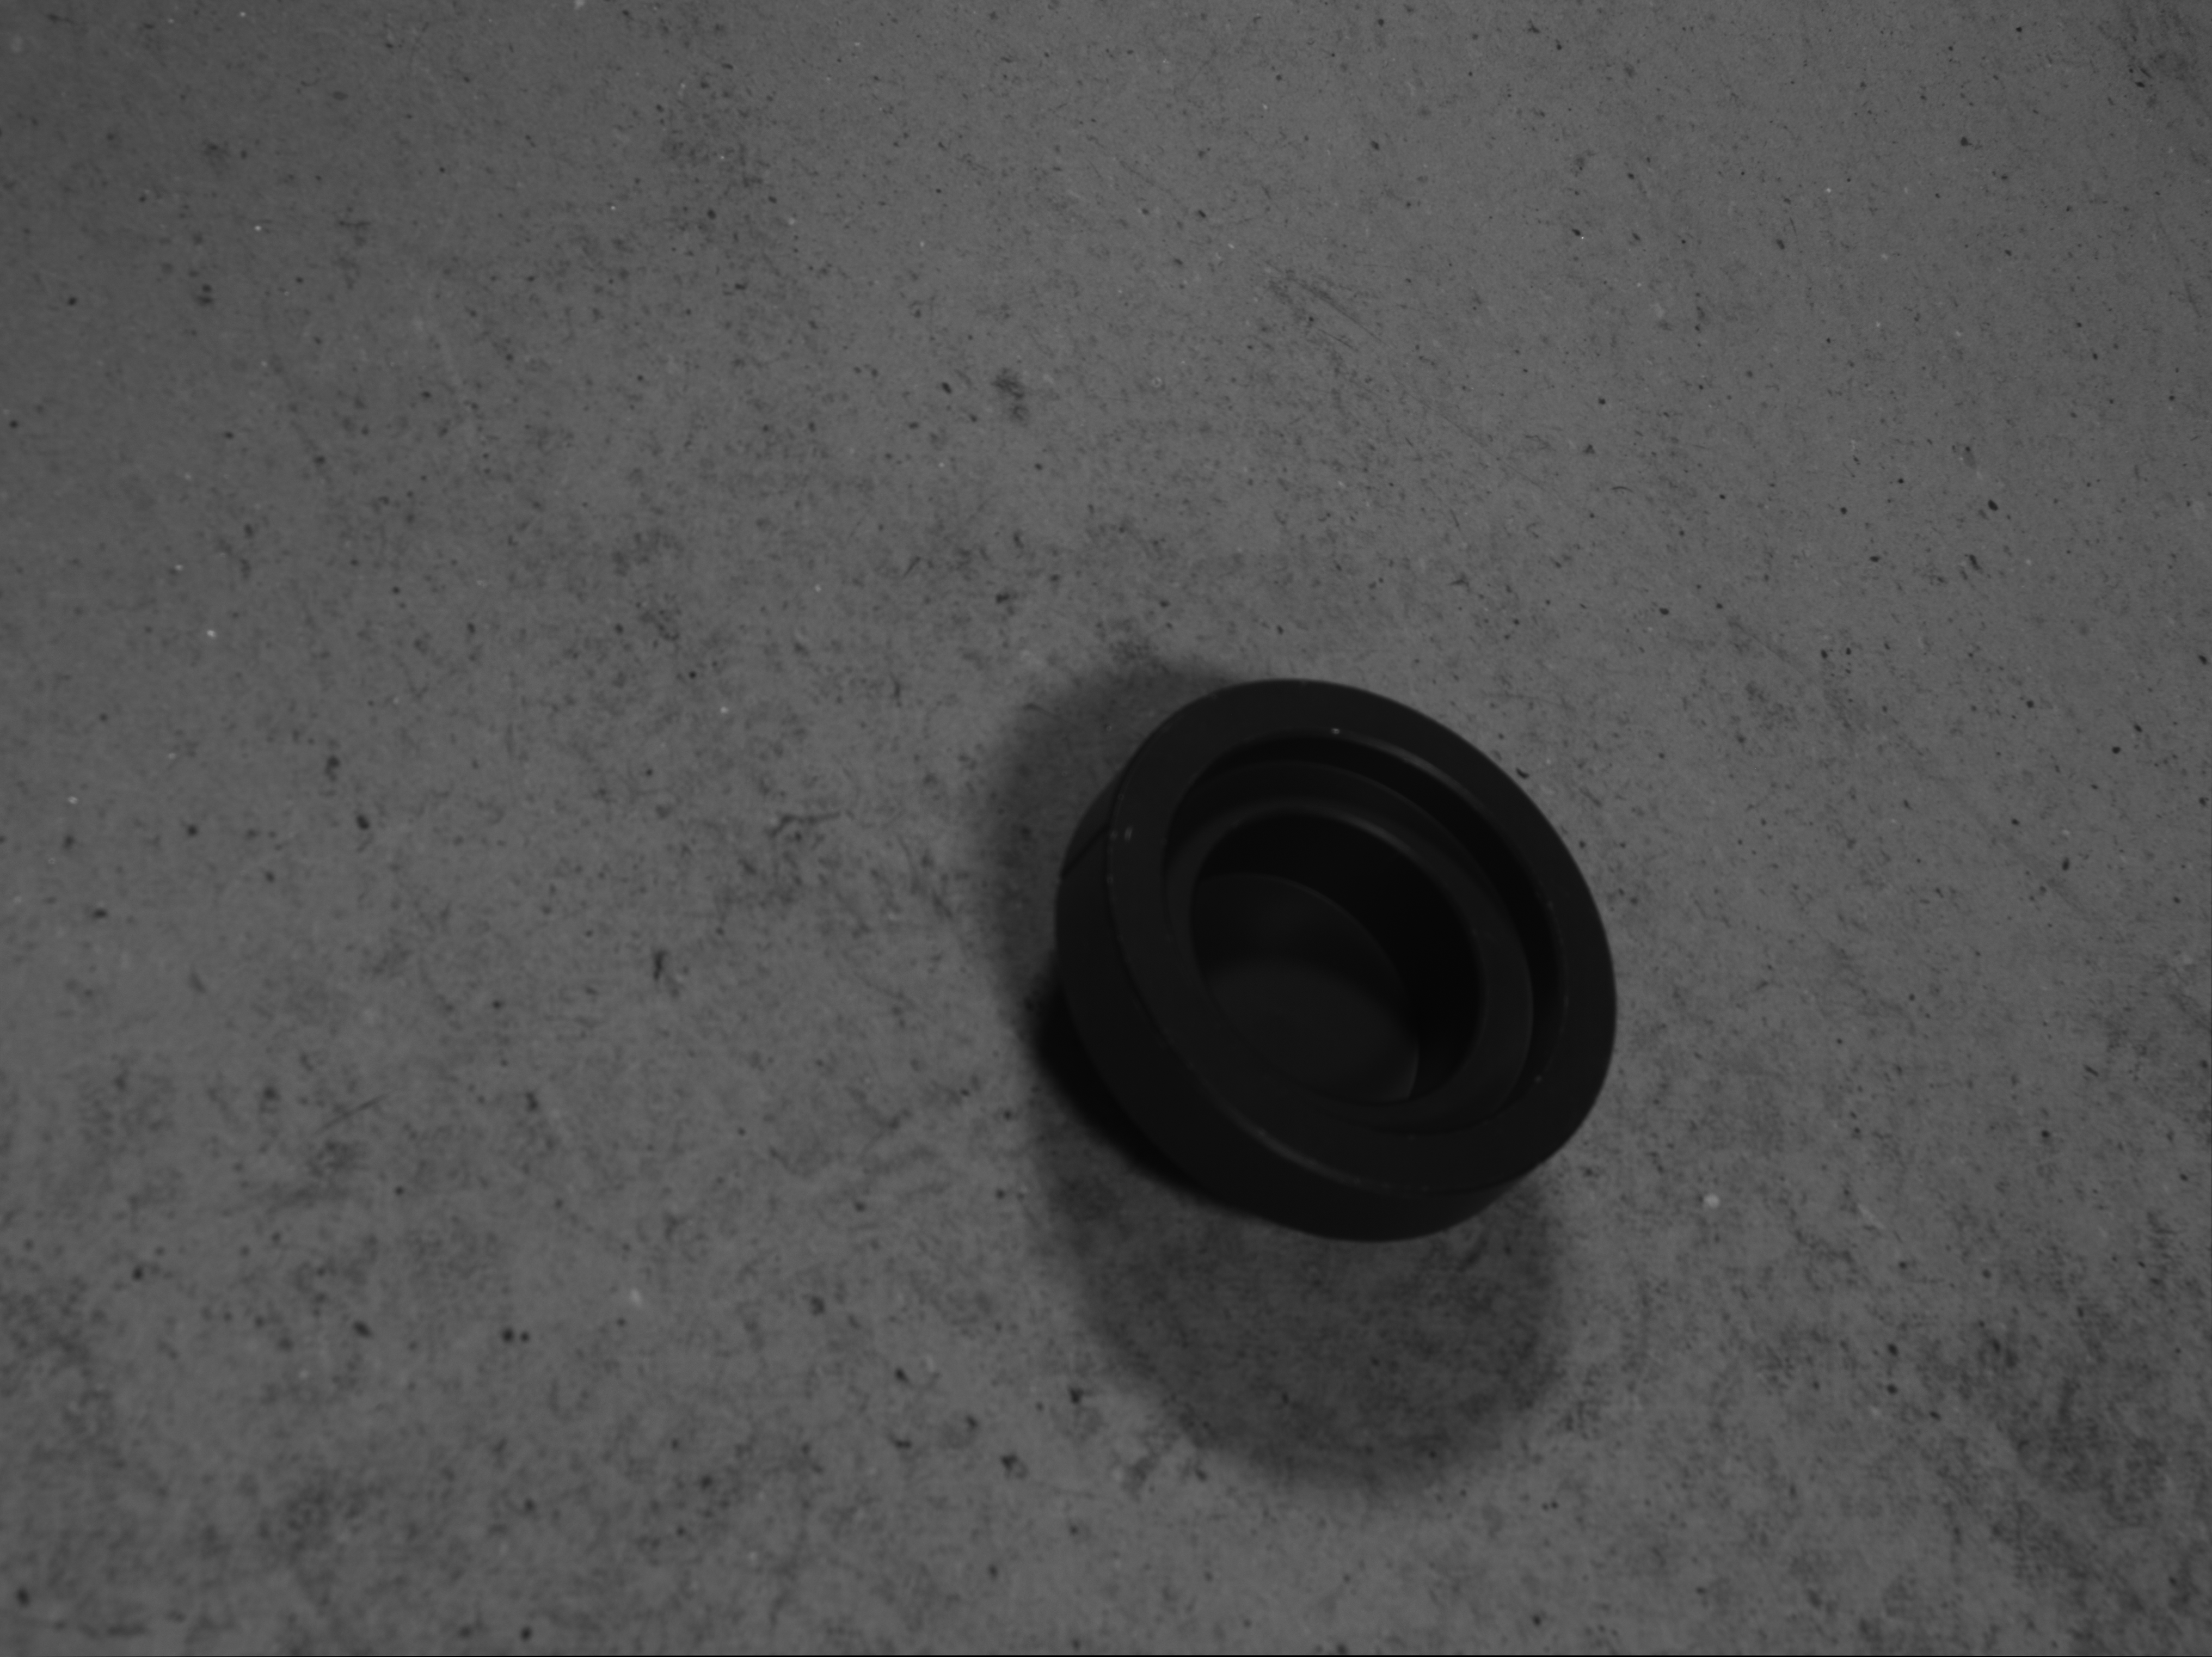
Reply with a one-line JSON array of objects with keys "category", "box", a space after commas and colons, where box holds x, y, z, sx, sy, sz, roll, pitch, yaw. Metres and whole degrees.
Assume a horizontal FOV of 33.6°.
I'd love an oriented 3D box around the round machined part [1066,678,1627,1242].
[{"category": "round machined part", "box": [0.037, 0.026, 0.633, 0.098, 0.042, 0.098, 14, 56, -21]}]
